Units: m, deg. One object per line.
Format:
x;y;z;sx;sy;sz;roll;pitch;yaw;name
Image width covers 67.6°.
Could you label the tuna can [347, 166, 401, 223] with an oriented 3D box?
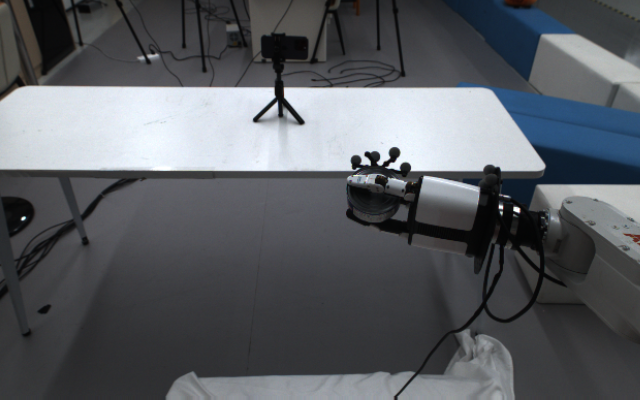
0.083;-0.014;0.743;0.085;0.034;0.085;-2;56;4;tuna can
